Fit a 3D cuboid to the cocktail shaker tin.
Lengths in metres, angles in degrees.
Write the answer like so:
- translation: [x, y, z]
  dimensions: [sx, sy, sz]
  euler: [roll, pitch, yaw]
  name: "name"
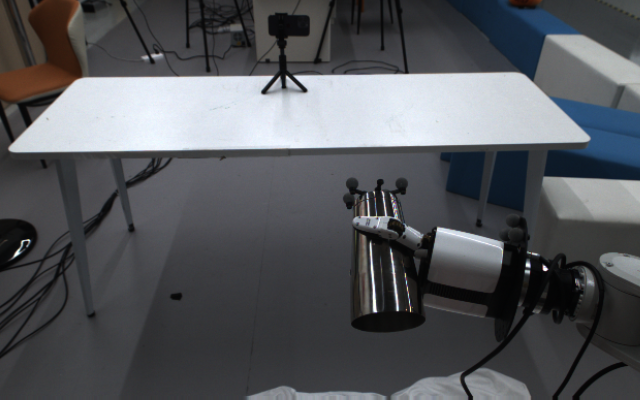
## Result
- translation: [0.081, 0.076, 0.631]
  dimensions: [0.093, 0.093, 0.170]
  euler: [0, 59, -3]
  name: "cocktail shaker tin"
